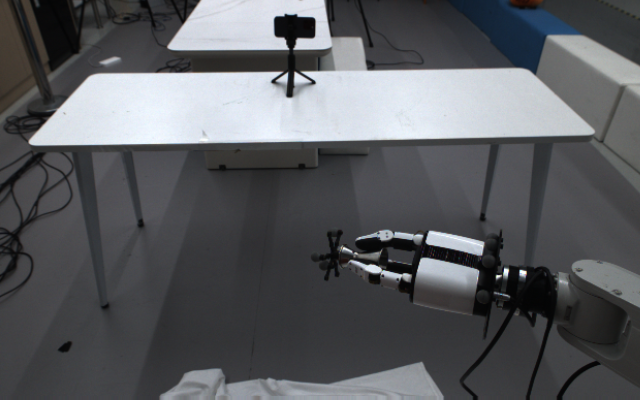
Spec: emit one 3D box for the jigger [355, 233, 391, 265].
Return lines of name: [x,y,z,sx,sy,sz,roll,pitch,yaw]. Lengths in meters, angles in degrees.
jigger: [0.075,0.085,0.756,0.071,0.043,0.043,3,32,26]
